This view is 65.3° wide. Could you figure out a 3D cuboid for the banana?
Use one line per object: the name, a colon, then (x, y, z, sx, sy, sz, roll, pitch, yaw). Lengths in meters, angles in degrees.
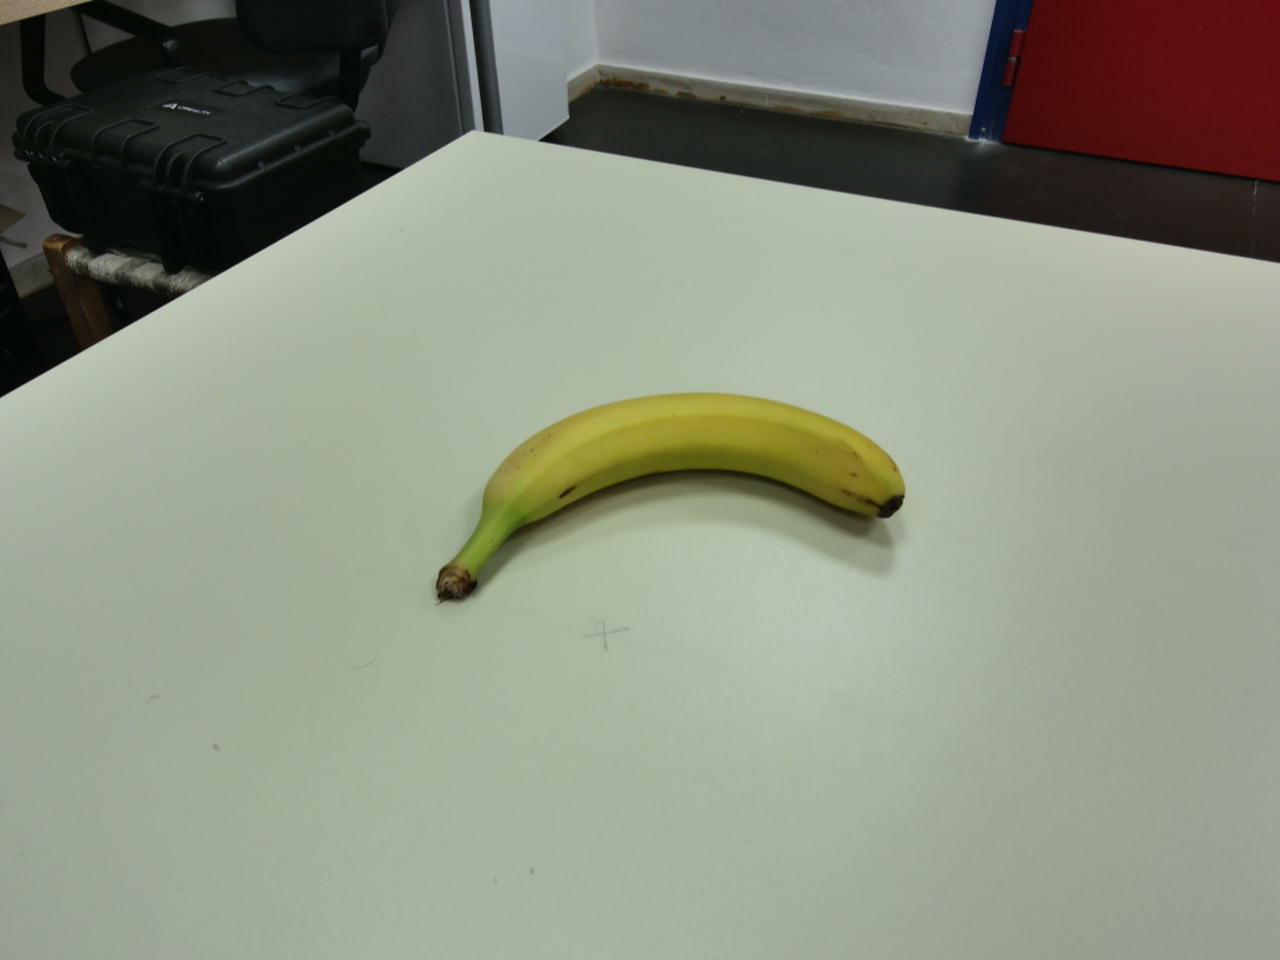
banana: (0.008, -0.003, 0.437, 0.196, 0.041, 0.094, -6, 37, -7)
